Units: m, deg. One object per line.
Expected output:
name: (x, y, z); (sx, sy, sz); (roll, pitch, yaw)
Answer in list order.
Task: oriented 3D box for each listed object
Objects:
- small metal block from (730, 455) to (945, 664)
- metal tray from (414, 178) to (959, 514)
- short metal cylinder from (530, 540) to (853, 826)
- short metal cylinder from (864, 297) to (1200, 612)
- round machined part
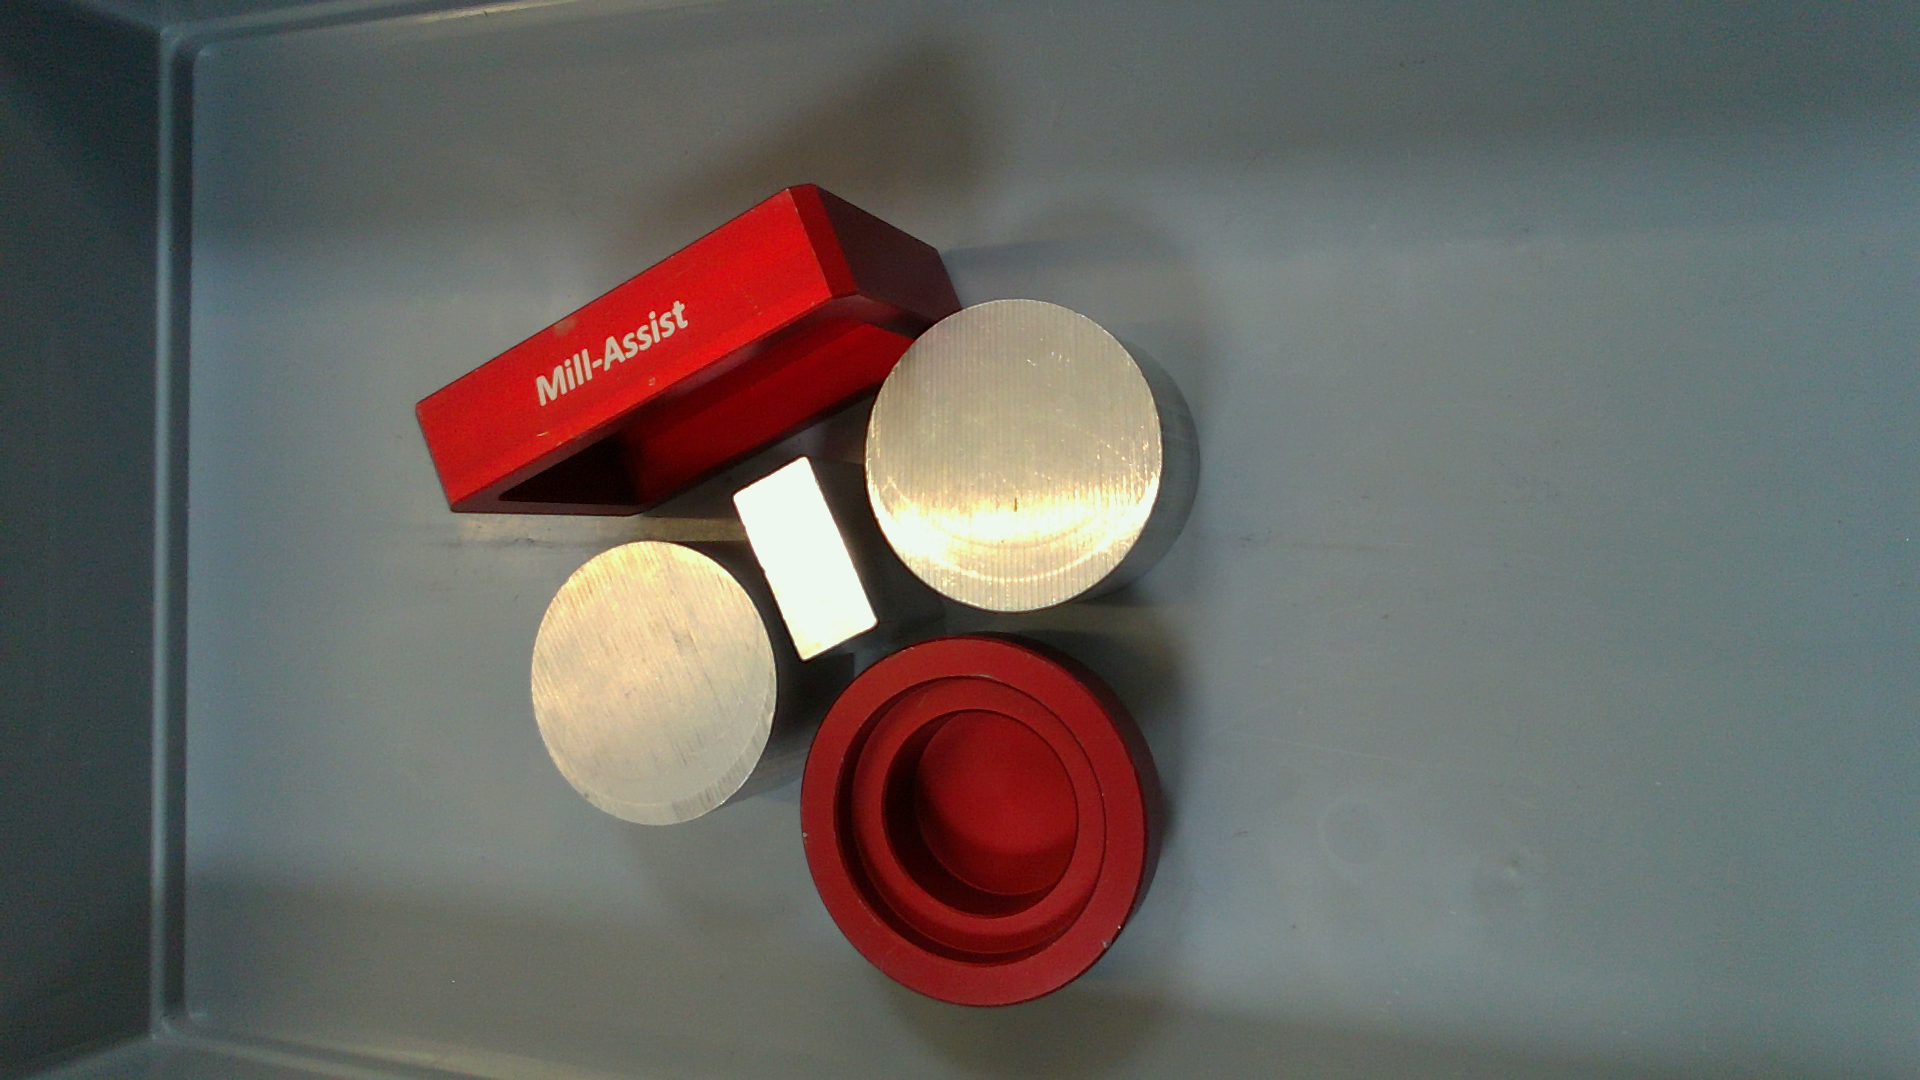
small metal block: (-0.034, 0.005, 0.393); (0.025, 0.050, 0.050); (-27, 81, 18)
metal tray: (-0.072, -0.048, 0.385); (0.130, 0.090, 0.030); (-25, 82, 19)
short metal cylinder: (-0.079, 0.040, 0.410); (0.080, 0.050, 0.080); (0, 90, 20)
short metal cylinder: (0.021, -0.022, 0.374); (0.080, 0.050, 0.080); (0, 90, 20)
round machined part: (0.009, 0.074, 0.382); (0.098, 0.042, 0.098); (0, 90, 20)
